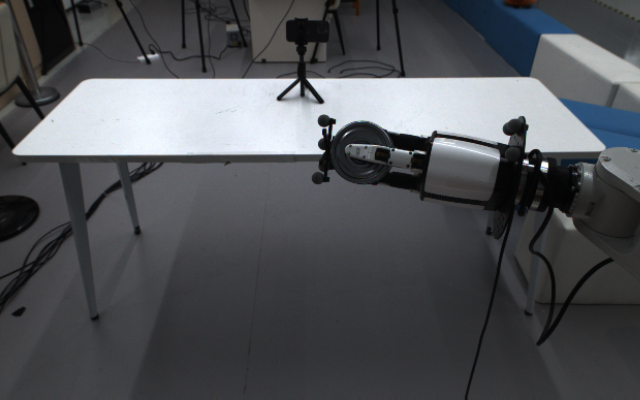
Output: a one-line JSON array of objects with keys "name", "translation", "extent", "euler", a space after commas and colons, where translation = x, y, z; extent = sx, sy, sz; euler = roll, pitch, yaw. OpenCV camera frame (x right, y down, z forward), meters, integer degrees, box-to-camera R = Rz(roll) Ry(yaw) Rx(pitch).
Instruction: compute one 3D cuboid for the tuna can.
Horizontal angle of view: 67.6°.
[{"name": "tuna can", "translation": [0.061, -0.061, 0.655], "extent": [0.085, 0.085, 0.034], "euler": [10, 2, 12]}]
